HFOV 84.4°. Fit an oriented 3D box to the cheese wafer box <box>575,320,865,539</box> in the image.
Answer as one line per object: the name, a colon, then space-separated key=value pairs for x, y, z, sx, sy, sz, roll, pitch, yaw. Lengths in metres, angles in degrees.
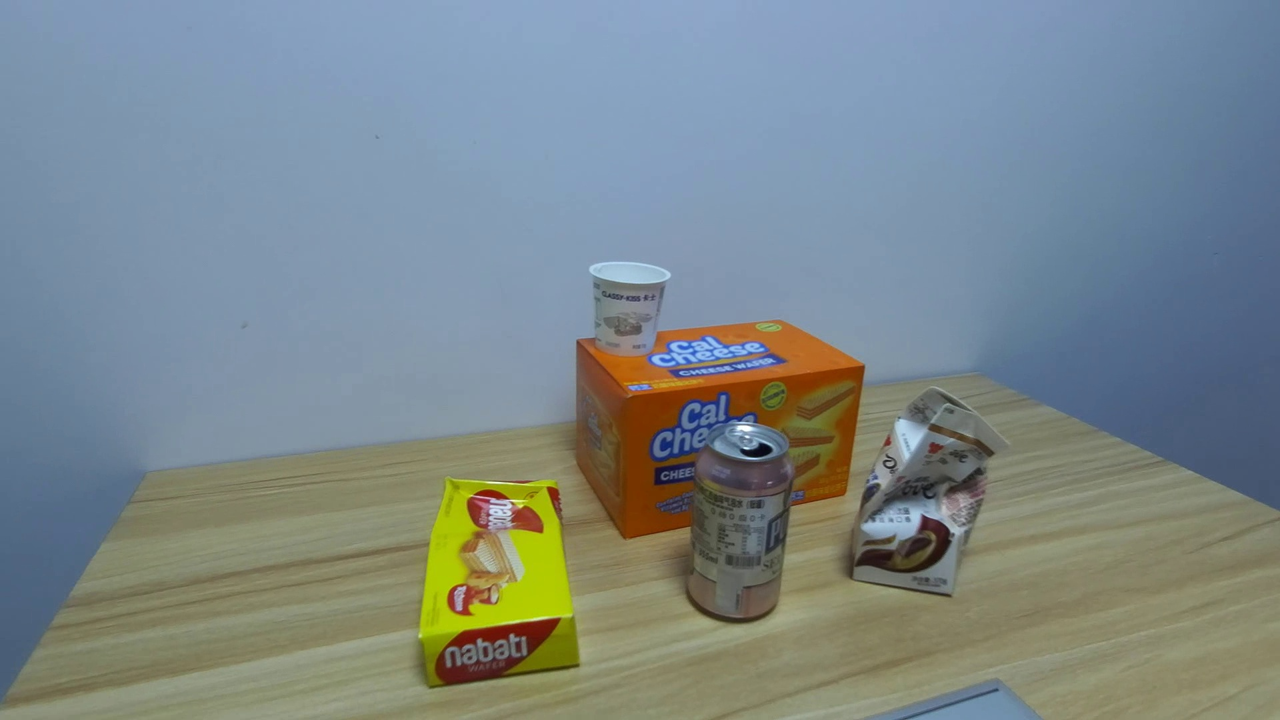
cheese wafer box: x=0.065 y=0.051 z=0.645 sx=0.222 sy=0.129 sz=0.147 roll=-6 pitch=21 yaw=-21

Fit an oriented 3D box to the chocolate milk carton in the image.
chocolate milk carton: x=0.211 y=0.094 z=0.518 sx=0.089 sy=0.155 sz=0.077 roll=19 pitch=25 yaw=5

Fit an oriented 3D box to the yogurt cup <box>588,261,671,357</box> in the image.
yogurt cup: x=-0.011 y=-0.044 z=0.612 sx=0.072 sy=0.068 sz=0.072 roll=4 pitch=21 yaw=-1

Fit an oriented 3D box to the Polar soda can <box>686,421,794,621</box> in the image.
Polar soda can: x=0.068 y=0.109 z=0.483 sx=0.067 sy=0.125 sz=0.067 roll=2 pitch=19 yaw=0

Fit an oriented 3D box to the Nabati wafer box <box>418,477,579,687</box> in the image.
Nabati wafer box: x=-0.101 y=0.141 z=0.510 sx=0.096 sy=0.042 sz=0.203 roll=-3 pitch=19 yaw=-9
